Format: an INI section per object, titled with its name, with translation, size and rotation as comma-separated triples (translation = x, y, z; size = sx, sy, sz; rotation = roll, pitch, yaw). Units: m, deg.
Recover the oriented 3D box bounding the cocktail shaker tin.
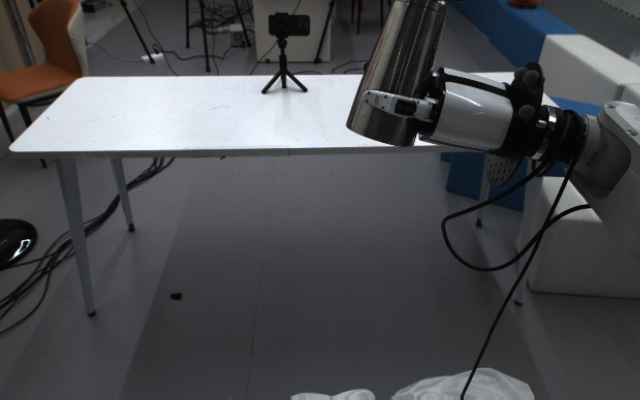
[cocktail shaker tin]
translation = 0.100, -0.162, 0.601
size = 0.093, 0.170, 0.093
rotation = 14, 20, -5
